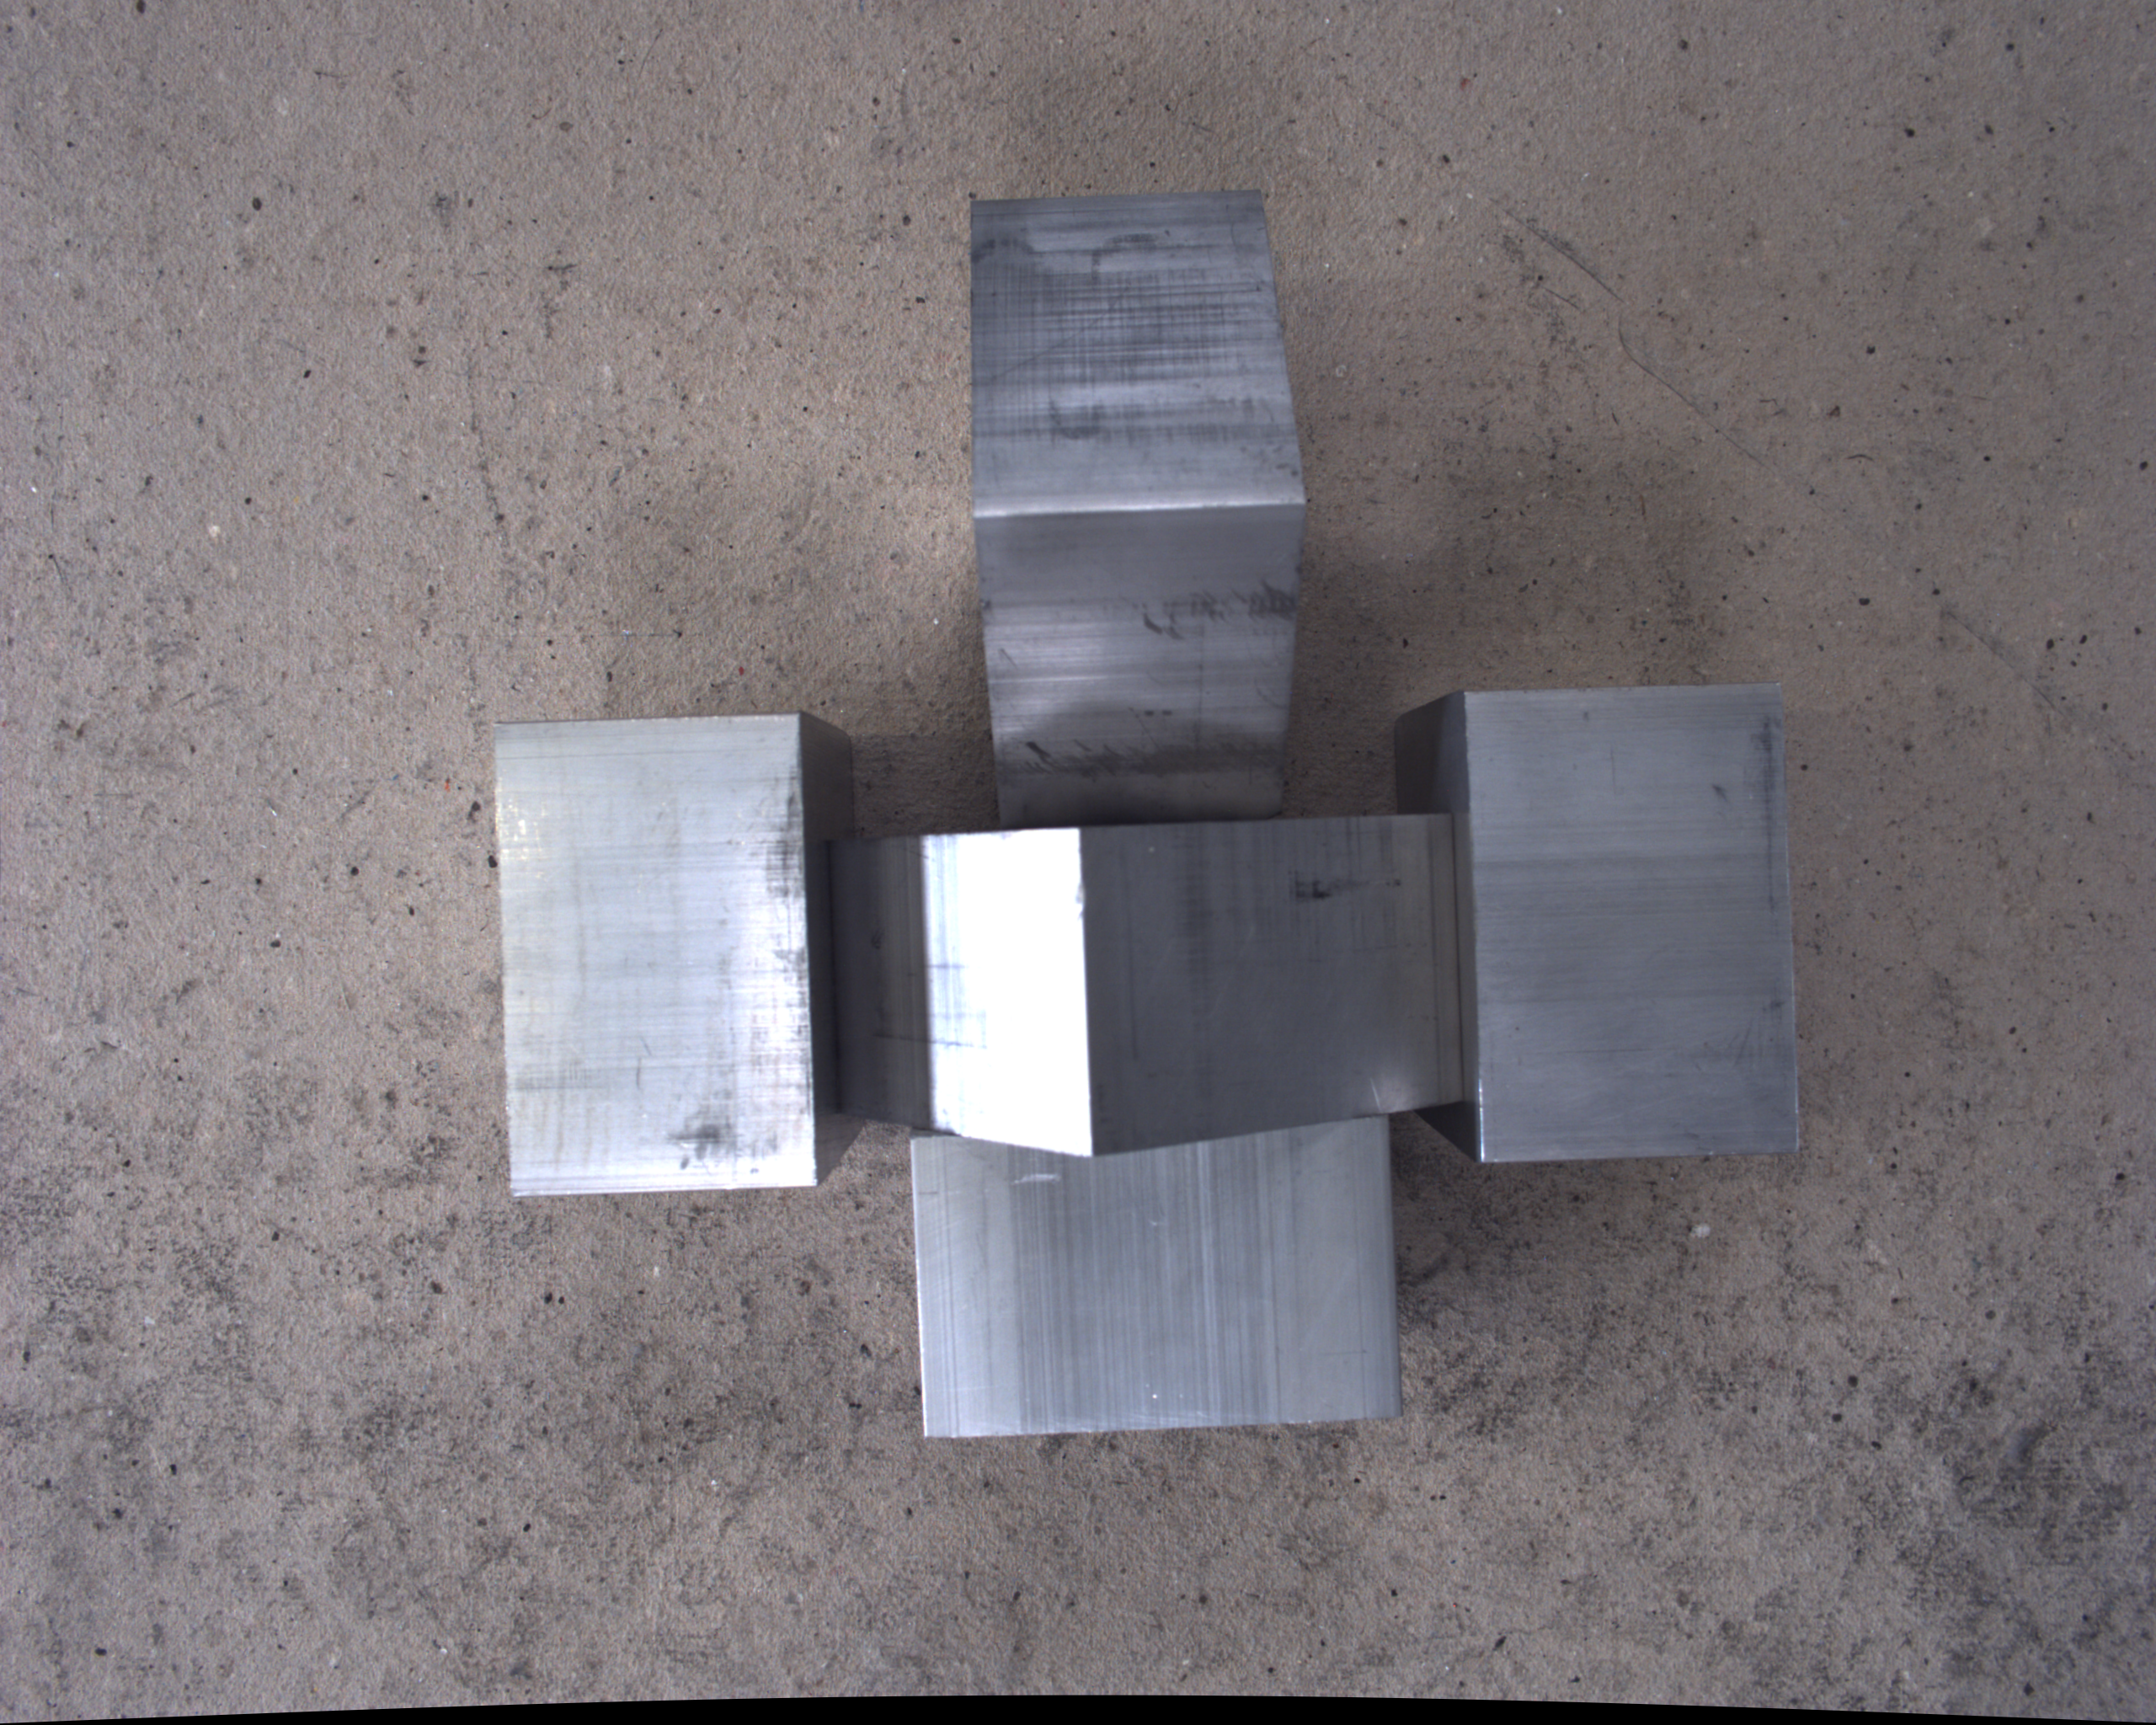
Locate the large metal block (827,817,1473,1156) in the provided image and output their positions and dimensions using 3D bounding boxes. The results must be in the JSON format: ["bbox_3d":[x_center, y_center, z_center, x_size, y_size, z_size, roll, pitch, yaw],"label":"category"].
[{"bbox_3d":[0.011,0.019,0.369,0.081,0.080,0.050,-2,90,-35],"label":"large metal block"}]

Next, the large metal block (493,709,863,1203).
[{"bbox_3d":[-0.070,0.015,0.382,0.050,0.080,0.080,-2,90,-1],"label":"large metal block"}]

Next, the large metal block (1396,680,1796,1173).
[{"bbox_3d":[0.091,0.011,0.384,0.050,0.080,0.080,-2,89,-1],"label":"large metal block"}]

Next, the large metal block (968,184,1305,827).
[{"bbox_3d":[0.009,-0.061,0.369,0.050,0.080,0.080,-3,53,0],"label":"large metal block"}]

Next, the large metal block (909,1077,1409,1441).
[{"bbox_3d":[0.014,0.069,0.384,0.081,0.080,0.050,-3,90,0],"label":"large metal block"}]
